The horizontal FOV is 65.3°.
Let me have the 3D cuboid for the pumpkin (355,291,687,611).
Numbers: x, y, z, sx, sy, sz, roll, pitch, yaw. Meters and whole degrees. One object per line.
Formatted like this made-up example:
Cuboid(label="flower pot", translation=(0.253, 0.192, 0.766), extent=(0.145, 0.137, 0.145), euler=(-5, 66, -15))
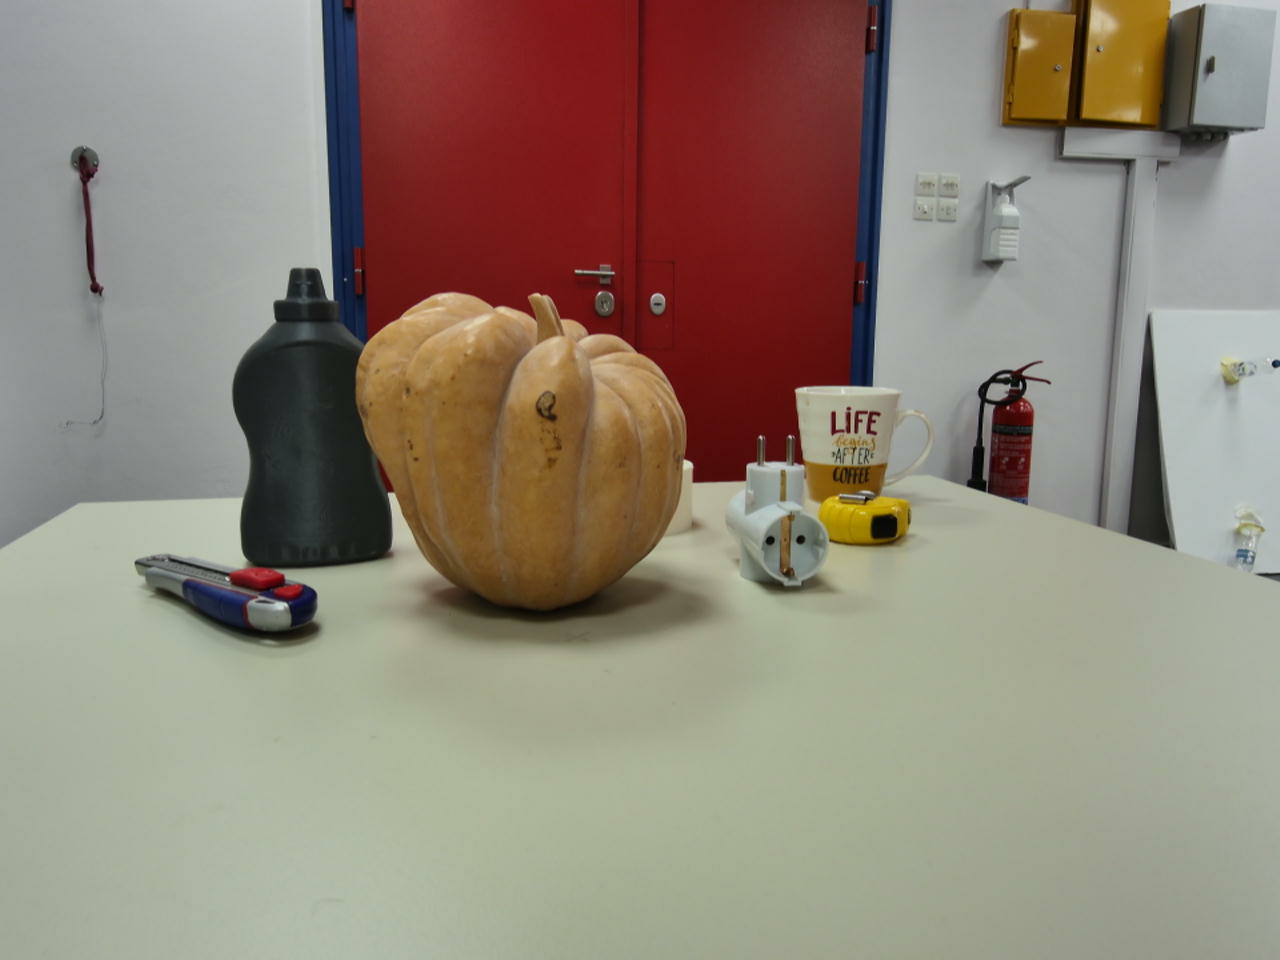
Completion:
Cuboid(label="pumpkin", translation=(-0.066, -0.019, 0.576), extent=(0.199, 0.177, 0.198), euler=(0, 8, 0))
